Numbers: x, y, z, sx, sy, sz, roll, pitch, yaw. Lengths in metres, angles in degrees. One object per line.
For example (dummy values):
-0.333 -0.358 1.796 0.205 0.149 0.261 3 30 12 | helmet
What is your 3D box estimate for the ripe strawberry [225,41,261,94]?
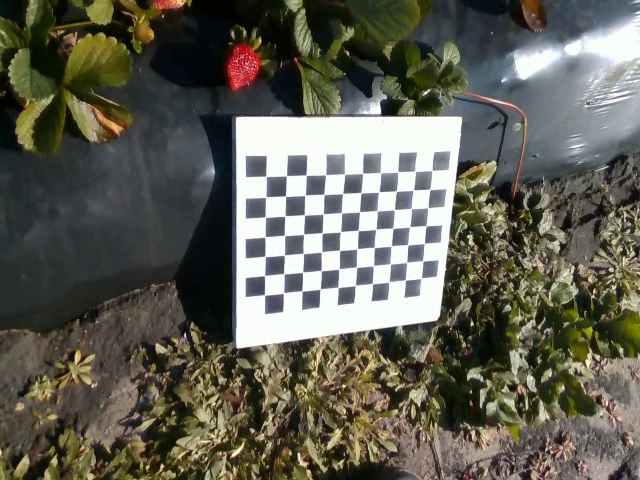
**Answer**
-0.088 -0.176 0.733 0.058 0.062 0.065 -34 -57 20 | ripe strawberry
